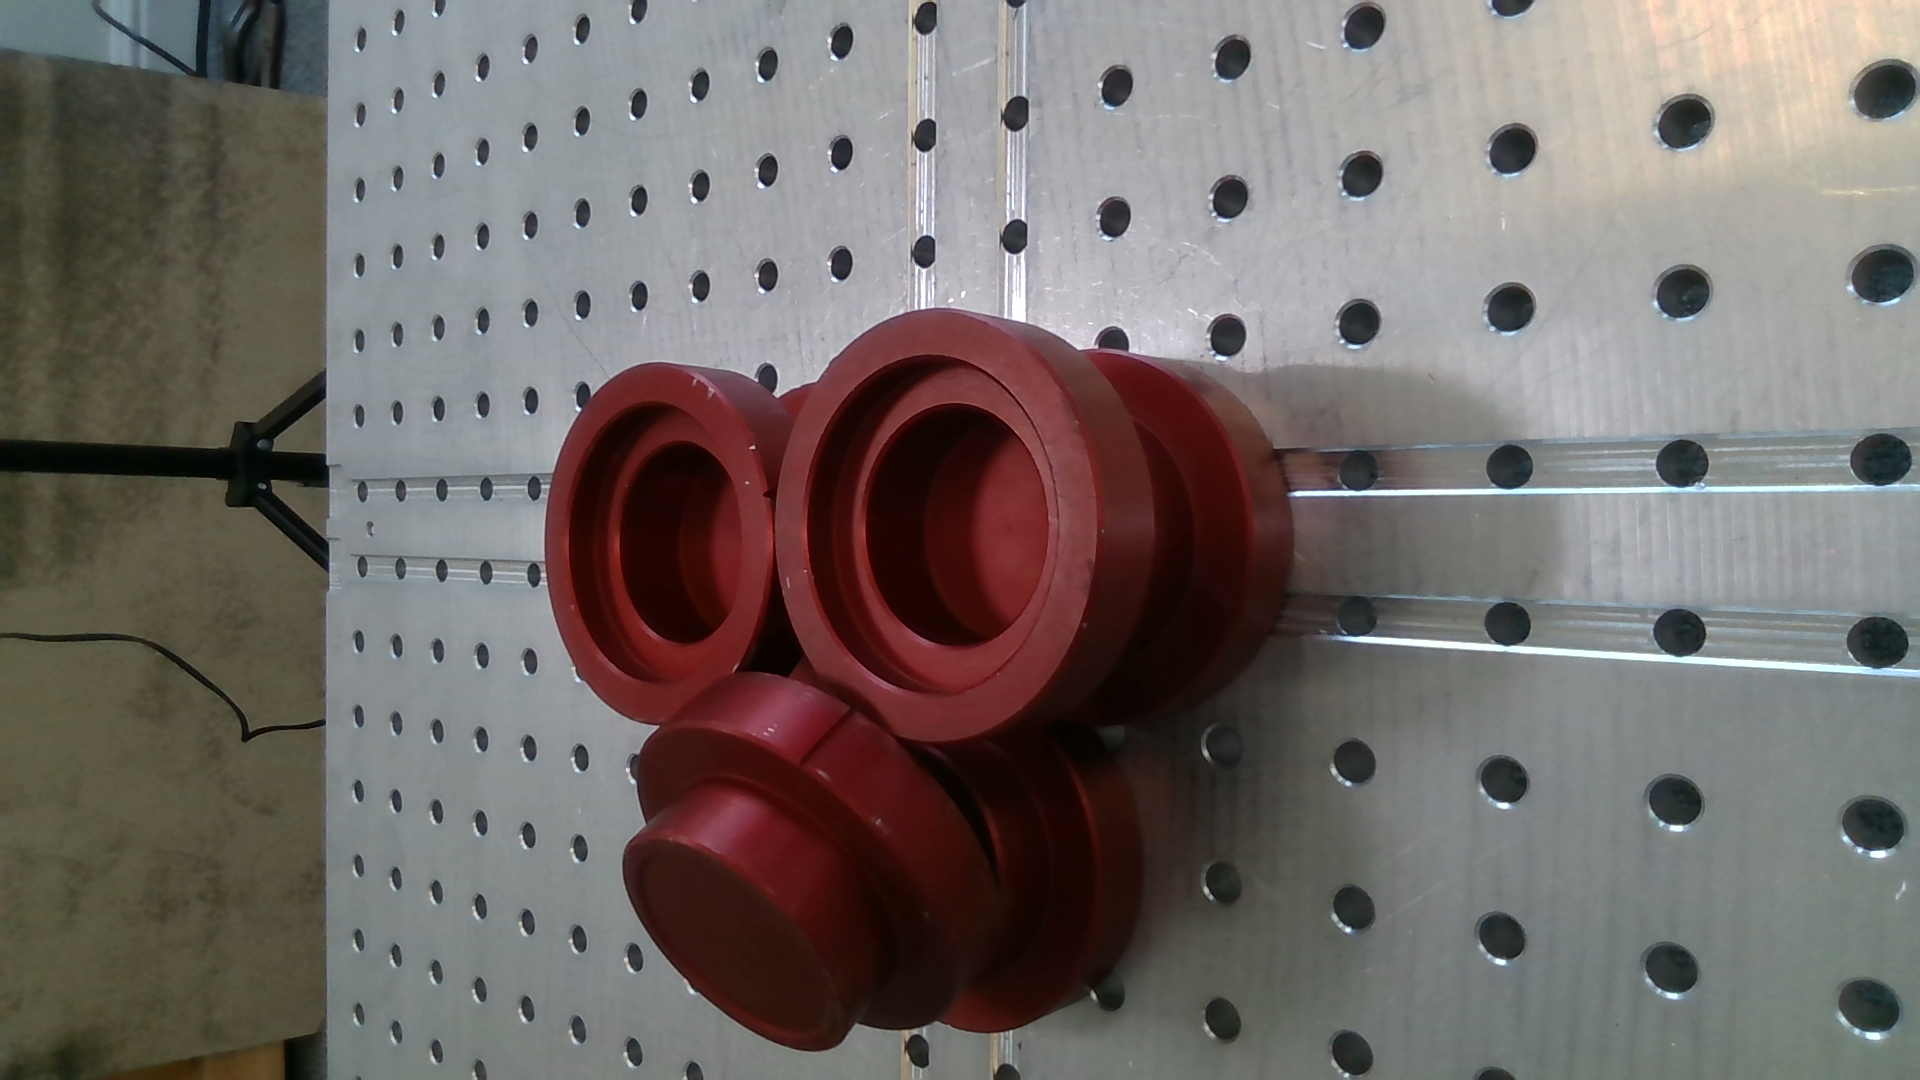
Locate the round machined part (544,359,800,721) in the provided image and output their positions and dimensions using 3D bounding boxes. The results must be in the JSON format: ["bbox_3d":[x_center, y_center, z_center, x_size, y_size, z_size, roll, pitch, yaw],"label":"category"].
[{"bbox_3d":[-0.071,0.000,0.387,0.098,0.042,0.098,0,91,40],"label":"round machined part"}]

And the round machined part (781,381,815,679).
[{"bbox_3d":[-0.043,-0.001,0.420,0.098,0.042,0.098,0,91,40],"label":"round machined part"}]

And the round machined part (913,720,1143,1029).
[{"bbox_3d":[-0.001,0.087,0.385,0.098,0.042,0.098,0,91,40],"label":"round machined part"}]

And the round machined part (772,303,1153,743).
[{"bbox_3d":[0.004,-0.004,0.323,0.098,0.042,0.098,0,91,40],"label":"round machined part"}]

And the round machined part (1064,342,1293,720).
[{"bbox_3d":[0.032,-0.002,0.356,0.098,0.042,0.098,0,91,40],"label":"round machined part"}]

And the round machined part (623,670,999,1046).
[{"bbox_3d":[-0.043,0.083,0.336,0.098,0.042,0.098,22,134,25],"label":"round machined part"}]
